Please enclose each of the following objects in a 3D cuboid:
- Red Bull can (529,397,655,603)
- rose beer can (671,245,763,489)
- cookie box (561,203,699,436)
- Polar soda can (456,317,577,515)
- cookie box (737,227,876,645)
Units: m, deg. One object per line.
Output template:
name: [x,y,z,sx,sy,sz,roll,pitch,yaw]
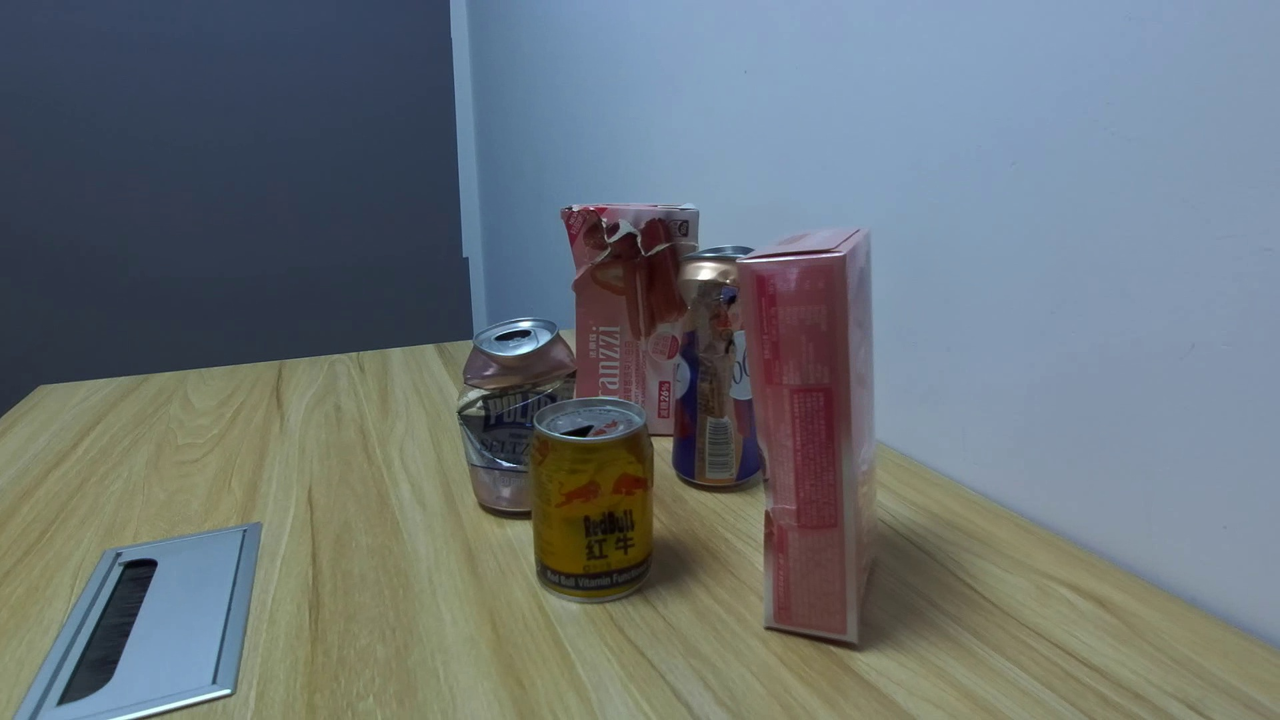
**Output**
Red Bull can: [-0.026,0.073,0.383,0.069,0.092,0.069,0,17,0]
rose beer can: [0.055,0.007,0.509,0.068,0.162,0.073,-2,12,-11]
cookie box: [-0.003,-0.029,0.562,0.105,0.186,0.059,1,12,10]
Polar soda can: [-0.079,0.040,0.460,0.071,0.122,0.066,-12,25,-30]
cookie box: [0.088,0.038,0.356,0.048,0.187,0.105,-1,11,22]
